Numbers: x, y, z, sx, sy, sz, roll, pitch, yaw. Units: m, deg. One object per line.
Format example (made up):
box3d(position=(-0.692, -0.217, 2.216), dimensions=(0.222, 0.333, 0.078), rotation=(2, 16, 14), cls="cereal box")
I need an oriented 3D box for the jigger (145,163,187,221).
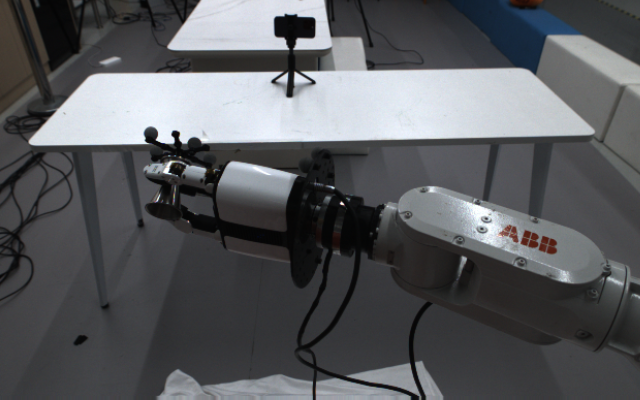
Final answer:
box3d(position=(-0.183, -0.017, 0.589), dimensions=(0.043, 0.043, 0.071), rotation=(4, 61, 3), cls="jigger")
